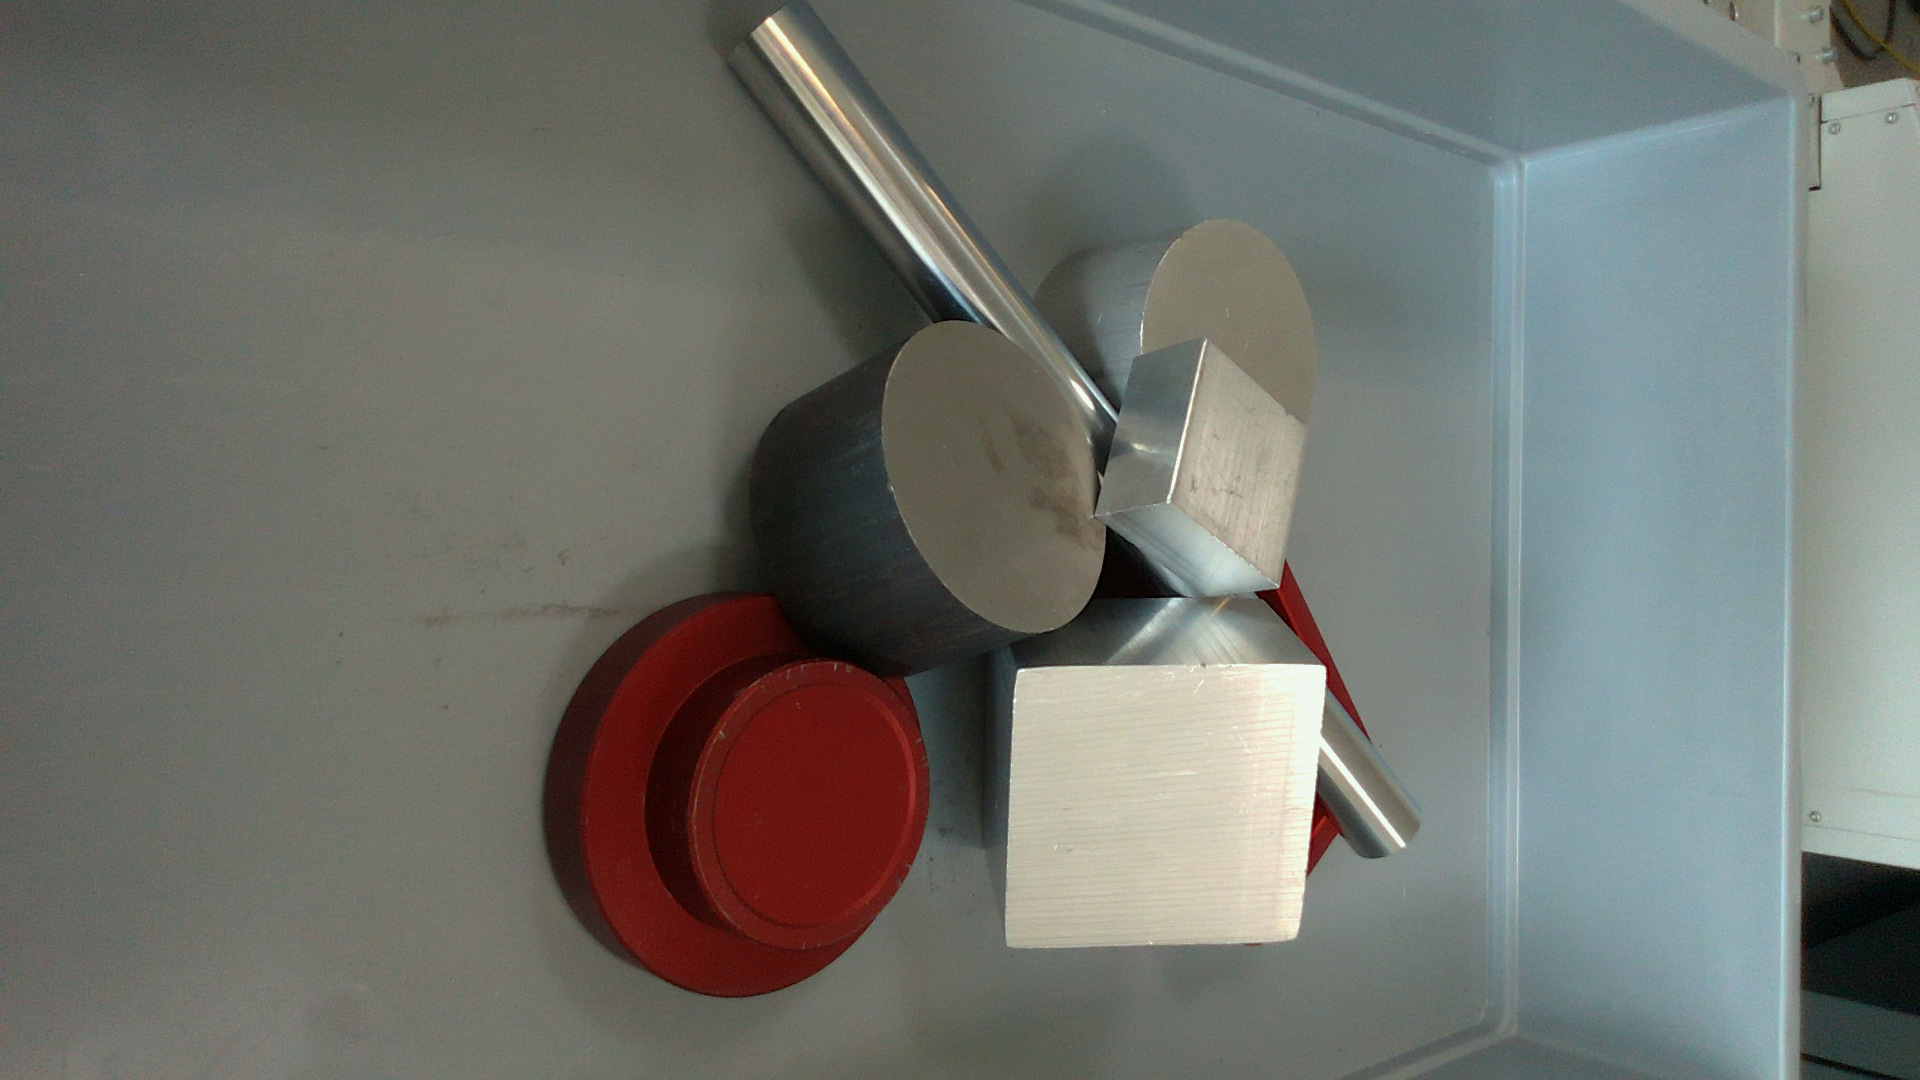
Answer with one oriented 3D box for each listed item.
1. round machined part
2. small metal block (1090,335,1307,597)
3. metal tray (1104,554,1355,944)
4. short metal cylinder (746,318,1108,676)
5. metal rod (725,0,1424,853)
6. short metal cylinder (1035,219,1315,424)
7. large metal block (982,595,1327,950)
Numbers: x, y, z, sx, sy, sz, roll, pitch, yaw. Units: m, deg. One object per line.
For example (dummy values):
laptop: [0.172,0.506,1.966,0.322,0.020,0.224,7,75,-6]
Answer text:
round machined part: [-0.046,0.062,0.337,0.098,0.042,0.098,0,90,-40]
small metal block: [0.066,-0.019,0.374,0.050,0.025,0.050,33,62,-35]
metal tray: [0.083,0.055,0.453,0.090,0.030,0.130,-44,116,-31]
short metal cylinder: [-0.007,-0.009,0.351,0.080,0.050,0.080,22,58,-41]
metal rod: [0.043,-0.019,0.391,0.300,0.025,0.025,50,60,-18]
short metal cylinder: [0.065,-0.055,0.426,0.080,0.050,0.080,0,90,-40]
large metal block: [0.049,0.062,0.378,0.080,0.050,0.080,-1,107,-7]
